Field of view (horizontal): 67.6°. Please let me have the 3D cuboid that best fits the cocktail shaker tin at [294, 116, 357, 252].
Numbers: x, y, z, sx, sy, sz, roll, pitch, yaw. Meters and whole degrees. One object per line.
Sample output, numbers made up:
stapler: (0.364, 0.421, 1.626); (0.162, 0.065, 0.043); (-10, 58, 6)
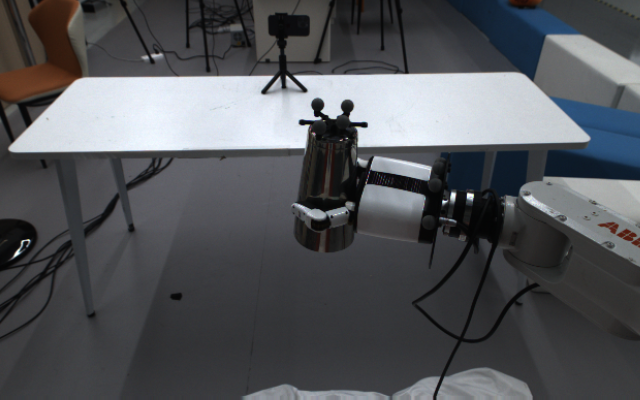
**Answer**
cocktail shaker tin: (0.013, -0.022, 0.676); (0.093, 0.170, 0.093); (3, 34, -2)
